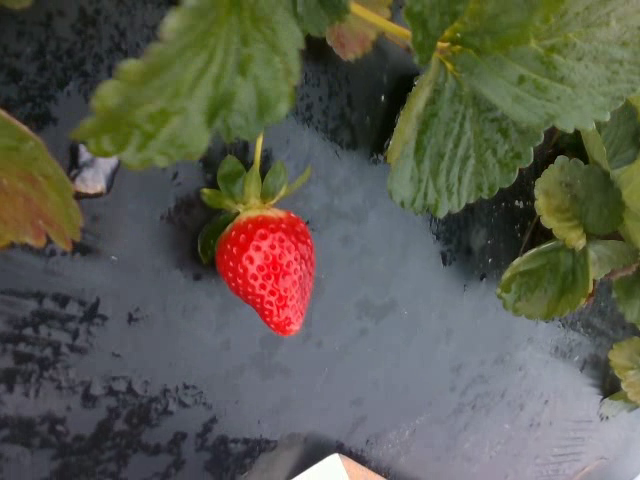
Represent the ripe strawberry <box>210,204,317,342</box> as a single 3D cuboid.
[{"bbox_3d":[-0.018,0.013,0.233,0.045,0.054,0.048,-6,-3,-20],"label":"ripe strawberry"}]
